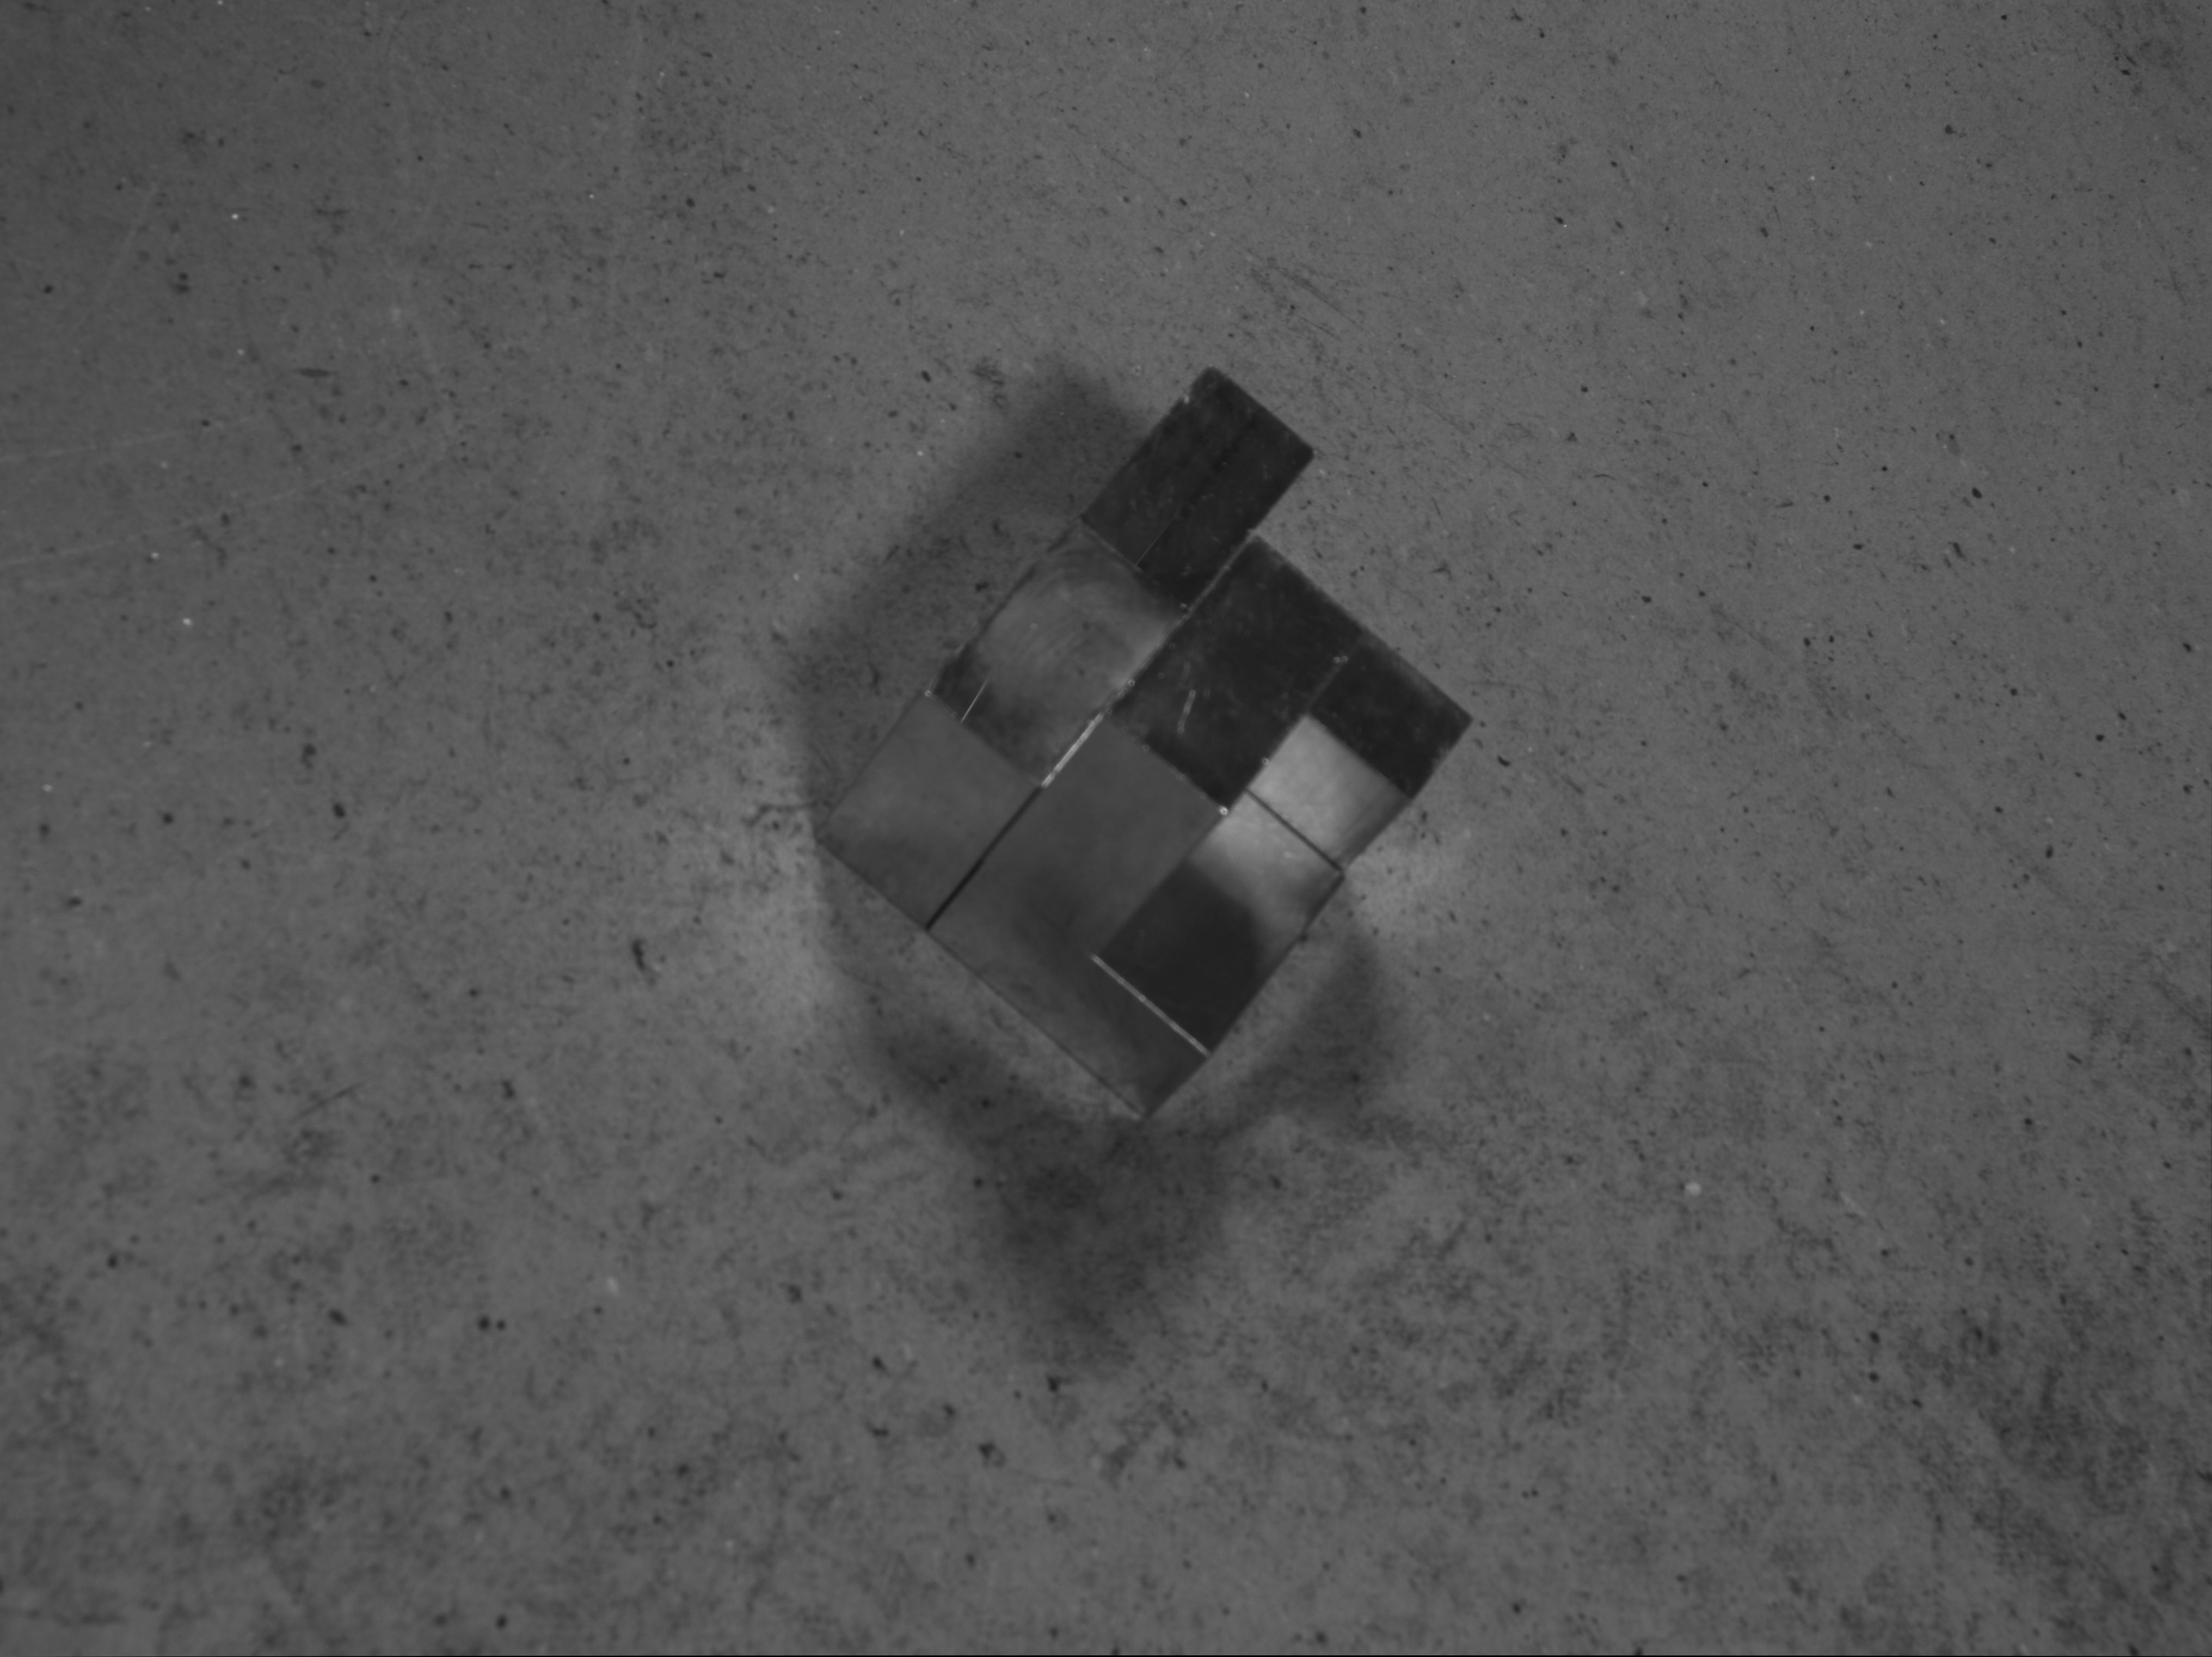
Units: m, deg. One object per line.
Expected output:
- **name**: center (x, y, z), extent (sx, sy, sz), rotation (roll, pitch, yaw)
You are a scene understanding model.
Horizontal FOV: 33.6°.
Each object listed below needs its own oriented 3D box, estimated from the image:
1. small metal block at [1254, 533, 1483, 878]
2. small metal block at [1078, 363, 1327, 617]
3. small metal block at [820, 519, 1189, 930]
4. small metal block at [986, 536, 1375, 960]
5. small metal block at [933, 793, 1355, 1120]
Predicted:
- **small metal block**: center (0.030, -0.016, 0.650), extent (0.050, 0.050, 0.025), rotation (40, 51, -1)
- **small metal block**: center (0.007, -0.048, 0.657), extent (0.025, 0.050, 0.050), rotation (40, 51, -1)
- **small metal block**: center (-0.017, -0.017, 0.625), extent (0.025, 0.050, 0.050), rotation (40, 51, -1)
- **small metal block**: center (0.012, -0.013, 0.606), extent (0.025, 0.050, 0.050), rotation (40, 51, -1)
- **small metal block**: center (0.007, 0.013, 0.636), extent (0.050, 0.025, 0.050), rotation (41, 51, -1)
